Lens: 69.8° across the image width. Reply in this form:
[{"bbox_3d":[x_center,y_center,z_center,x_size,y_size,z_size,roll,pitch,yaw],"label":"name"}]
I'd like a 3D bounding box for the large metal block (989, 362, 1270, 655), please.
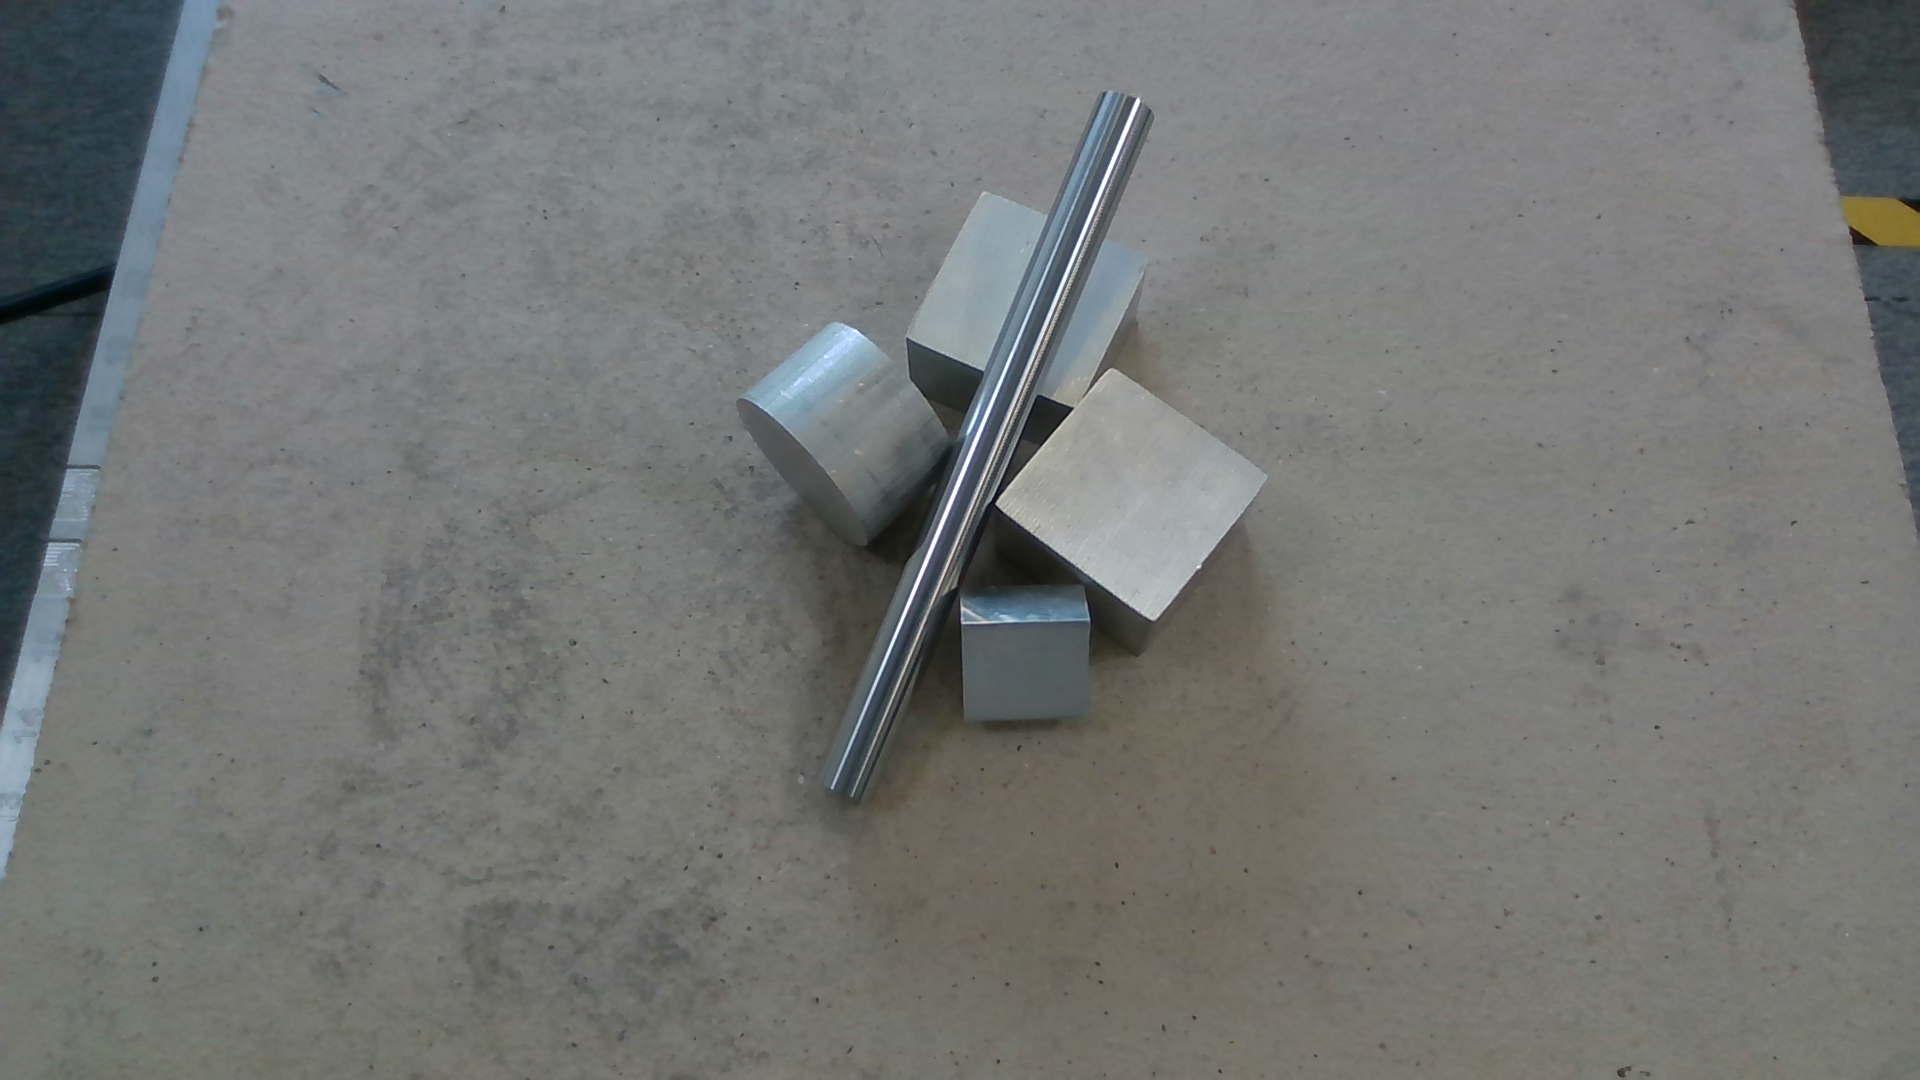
[{"bbox_3d":[0.069,-0.013,0.577,0.080,0.050,0.080,37,74,12],"label":"large metal block"}]

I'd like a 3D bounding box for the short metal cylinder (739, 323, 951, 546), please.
[{"bbox_3d":[-0.048,-0.044,0.575,0.050,0.080,0.080,-42,76,-14],"label":"short metal cylinder"}]

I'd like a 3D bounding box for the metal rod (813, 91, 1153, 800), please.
[{"bbox_3d":[0.010,-0.039,0.559,0.025,0.025,0.300,22,88,8],"label":"metal rod"}]

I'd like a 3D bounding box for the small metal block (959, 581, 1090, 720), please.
[{"bbox_3d":[0.025,0.045,0.557,0.050,0.050,0.025,-2,34,-1],"label":"small metal block"}]

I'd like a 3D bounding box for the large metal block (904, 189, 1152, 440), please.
[{"bbox_3d":[0.030,-0.096,0.609,0.080,0.050,0.080,24,72,8],"label":"large metal block"}]
